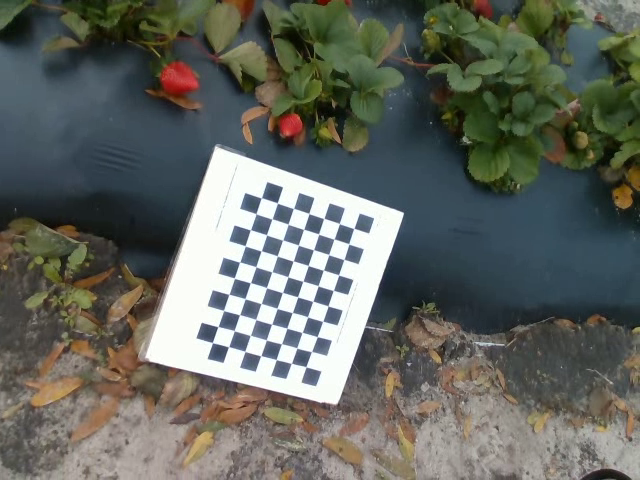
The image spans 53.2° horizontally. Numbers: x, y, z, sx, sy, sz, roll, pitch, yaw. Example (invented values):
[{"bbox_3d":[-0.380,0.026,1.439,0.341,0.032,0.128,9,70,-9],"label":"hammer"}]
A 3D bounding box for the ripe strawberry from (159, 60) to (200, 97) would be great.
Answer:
[{"bbox_3d":[-0.177,-0.205,0.817,0.065,0.047,0.042,26,2,33],"label":"ripe strawberry"}]

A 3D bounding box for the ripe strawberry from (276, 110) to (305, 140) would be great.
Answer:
[{"bbox_3d":[-0.041,-0.153,0.866,0.040,0.042,0.037,30,-51,-19],"label":"ripe strawberry"}]
